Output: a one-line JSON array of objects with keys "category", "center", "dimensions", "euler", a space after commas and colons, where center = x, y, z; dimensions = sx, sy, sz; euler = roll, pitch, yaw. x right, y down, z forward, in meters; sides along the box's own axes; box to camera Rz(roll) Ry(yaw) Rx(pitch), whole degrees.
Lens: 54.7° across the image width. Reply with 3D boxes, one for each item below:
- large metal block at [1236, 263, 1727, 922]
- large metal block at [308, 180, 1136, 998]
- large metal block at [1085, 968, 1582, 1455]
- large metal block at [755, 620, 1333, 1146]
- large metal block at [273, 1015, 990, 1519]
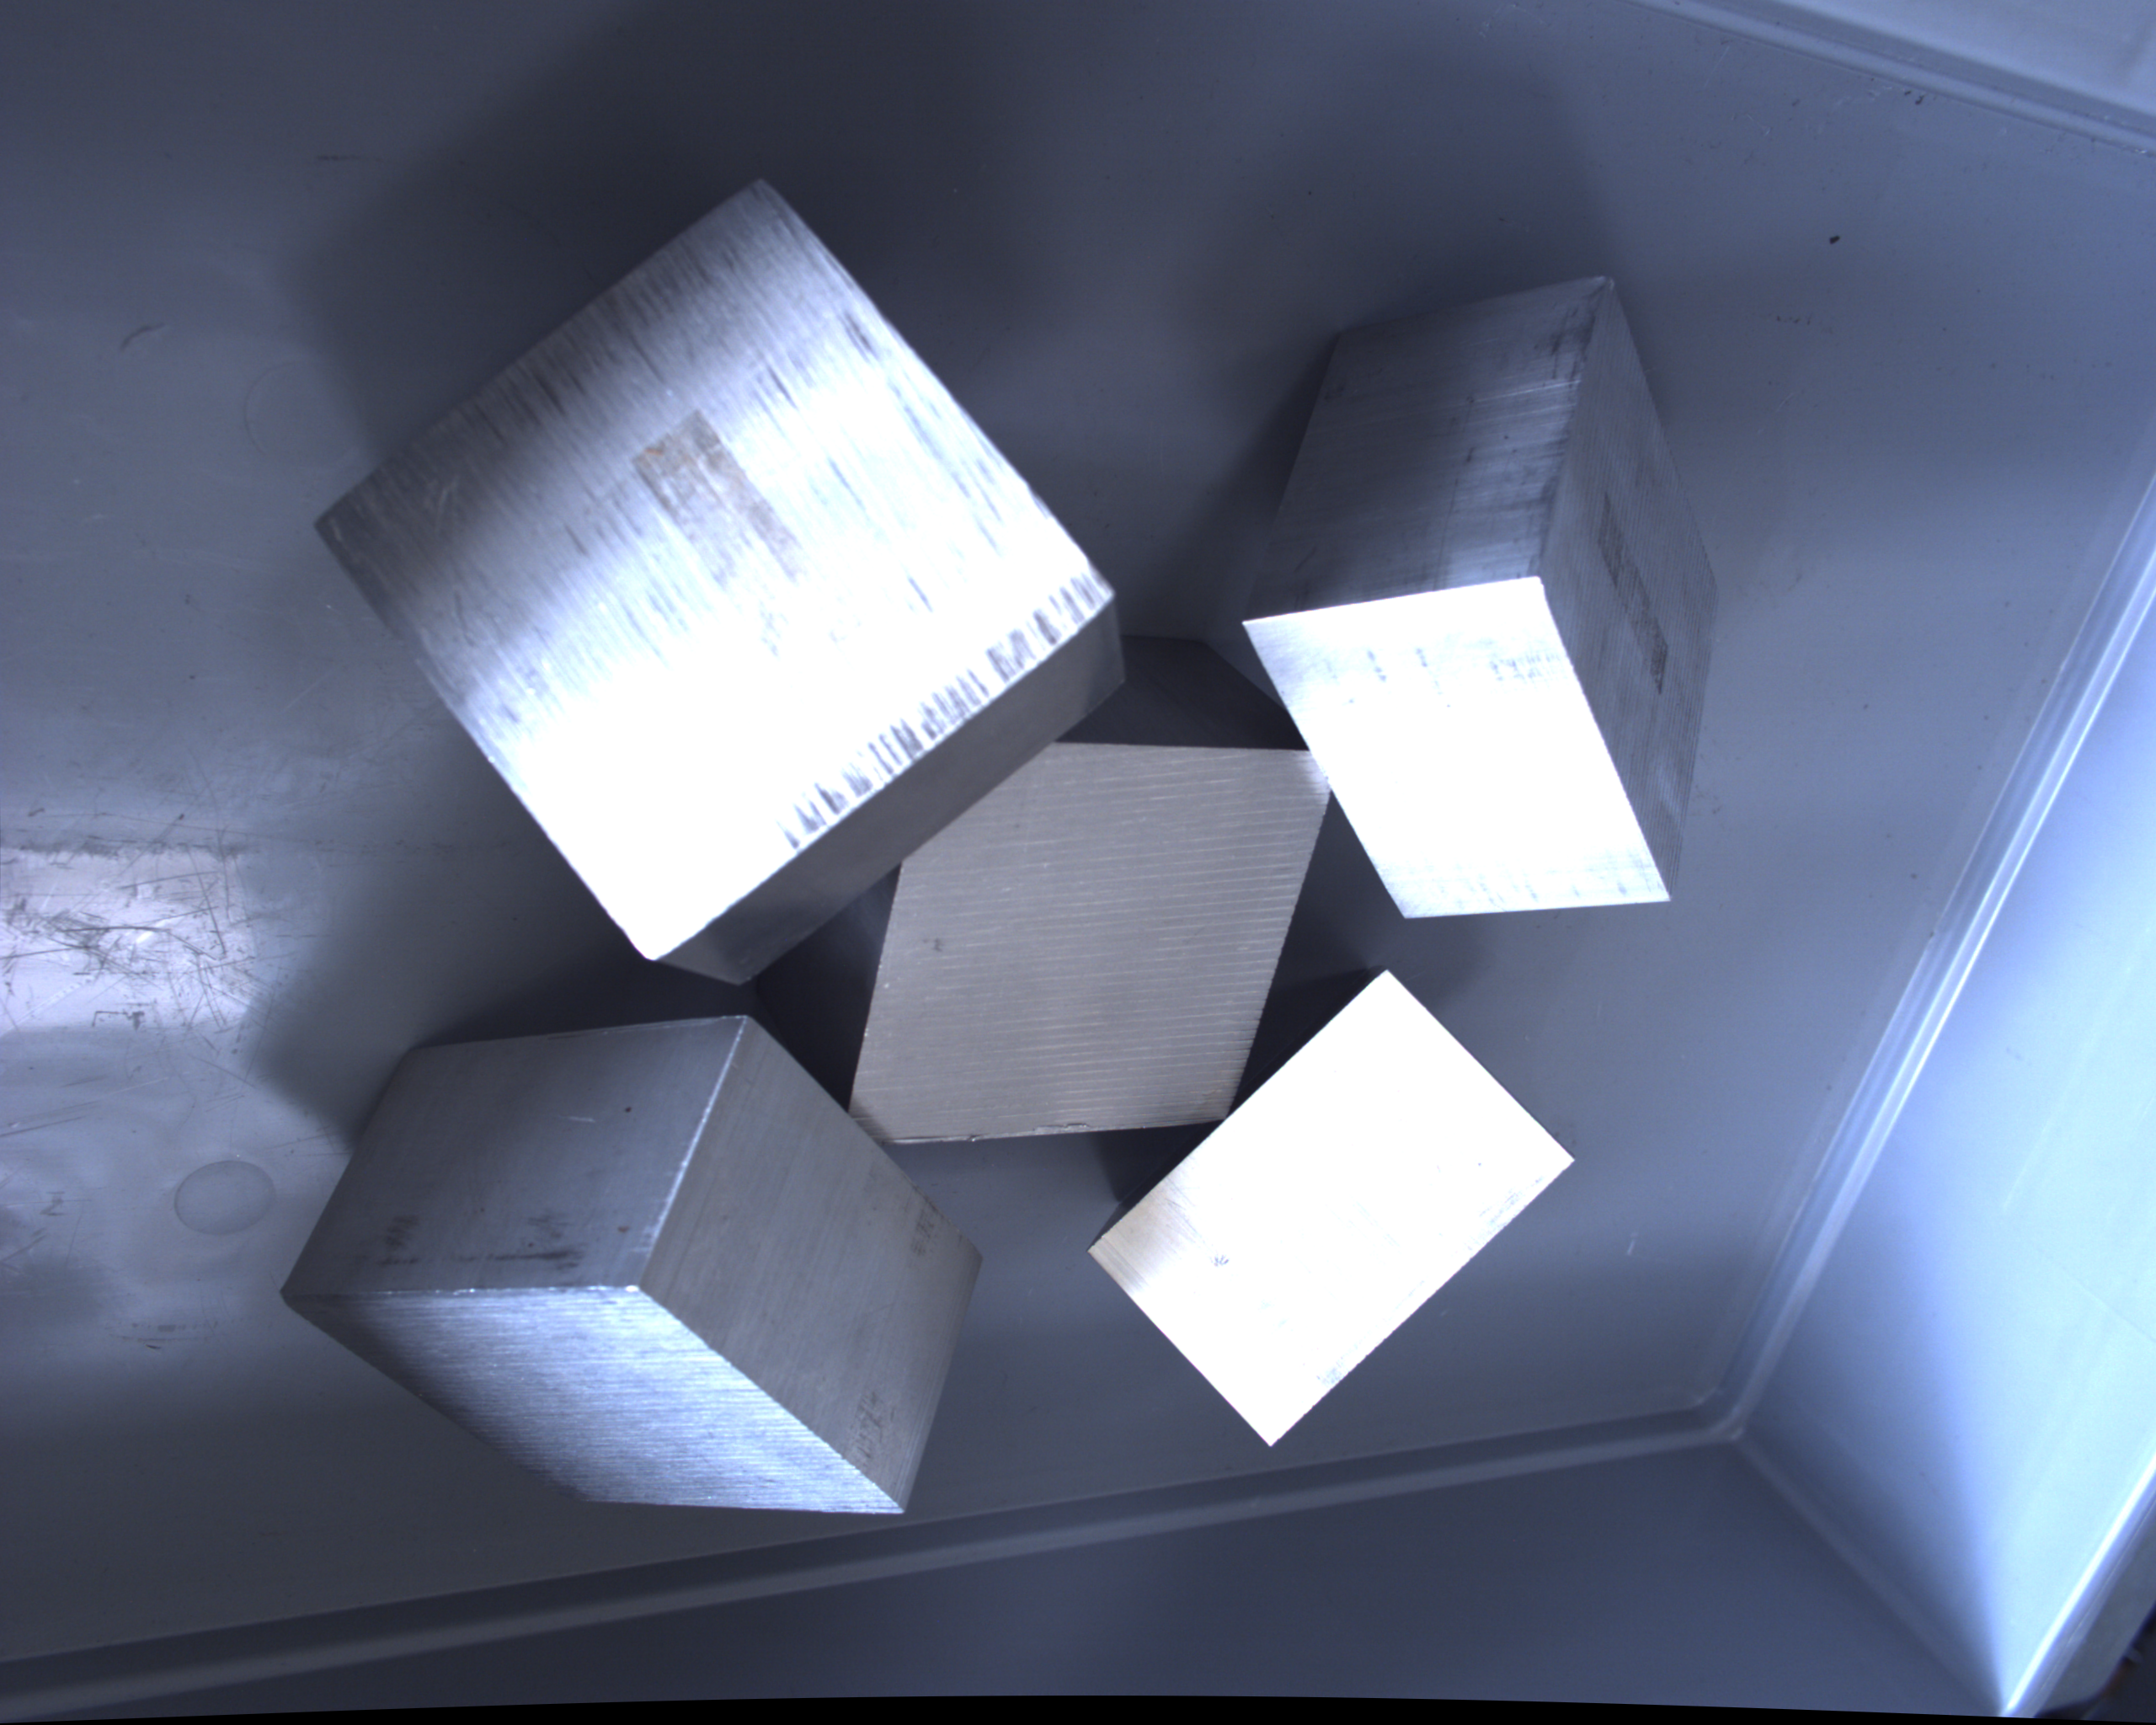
[{"category": "large metal block", "center": [0.077, -0.046, 0.377], "dimensions": [0.080, 0.050, 0.080], "euler": [55, 42, -39]}, {"category": "large metal block", "center": [-0.049, -0.037, 0.310], "dimensions": [0.080, 0.080, 0.050], "euler": [-39, 173, -2]}, {"category": "large metal block", "center": [0.051, 0.067, 0.432], "dimensions": [0.080, 0.050, 0.080], "euler": [-44, 174, 2]}, {"category": "large metal block", "center": [-0.007, 0.004, 0.387], "dimensions": [0.081, 0.050, 0.079], "euler": [1, 118, -29]}, {"category": "large metal block", "center": [-0.075, 0.073, 0.368], "dimensions": [0.080, 0.050, 0.080], "euler": [-7, 137, 30]}]
